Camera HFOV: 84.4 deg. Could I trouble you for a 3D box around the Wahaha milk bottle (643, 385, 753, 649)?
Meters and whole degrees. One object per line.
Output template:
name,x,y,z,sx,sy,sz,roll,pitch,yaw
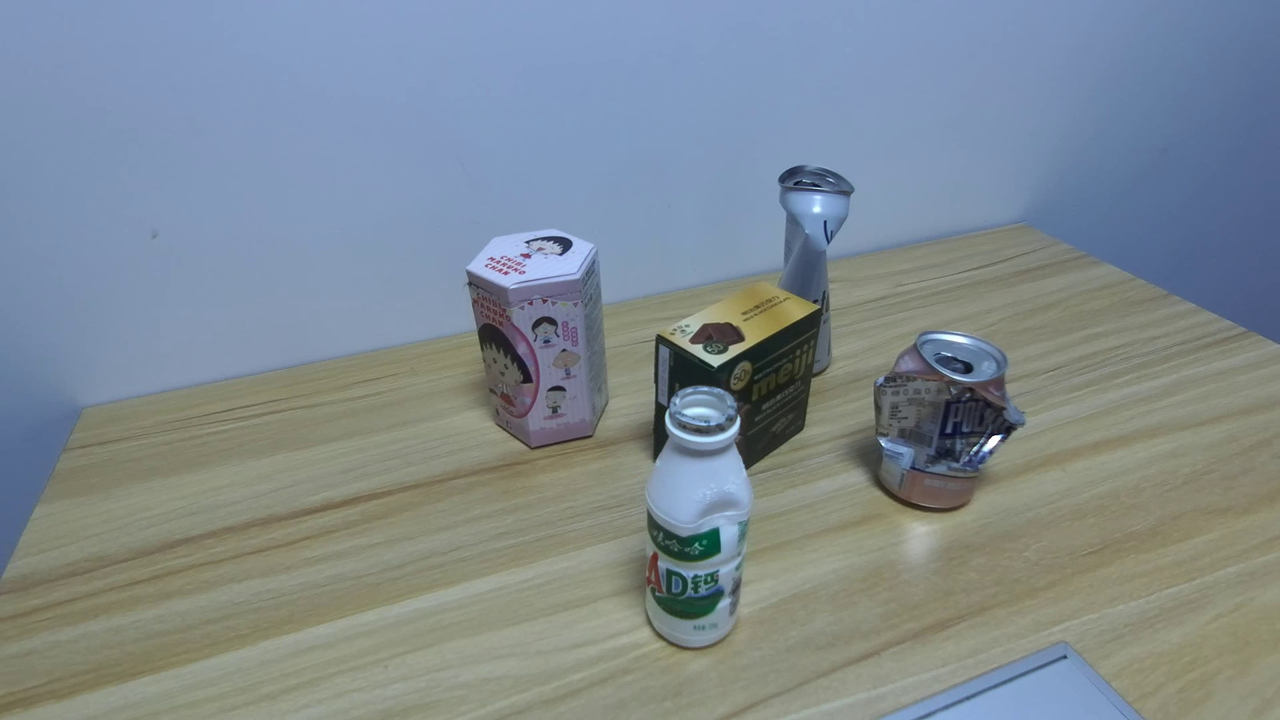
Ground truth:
Wahaha milk bottle,0.030,0.087,0.359,0.053,0.137,0.053,0,31,0

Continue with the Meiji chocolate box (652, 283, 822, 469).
Meiji chocolate box,0.066,0.018,0.483,0.110,0.109,0.056,-27,42,-34

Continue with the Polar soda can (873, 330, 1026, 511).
Polar soda can,0.194,0.039,0.450,0.074,0.114,0.070,-21,45,-21

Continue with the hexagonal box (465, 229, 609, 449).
hexagonal box,-0.071,-0.014,0.514,0.091,0.136,0.084,25,41,35

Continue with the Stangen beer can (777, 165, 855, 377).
Stangen beer can,0.130,-0.066,0.559,0.066,0.162,0.076,-24,40,-28
